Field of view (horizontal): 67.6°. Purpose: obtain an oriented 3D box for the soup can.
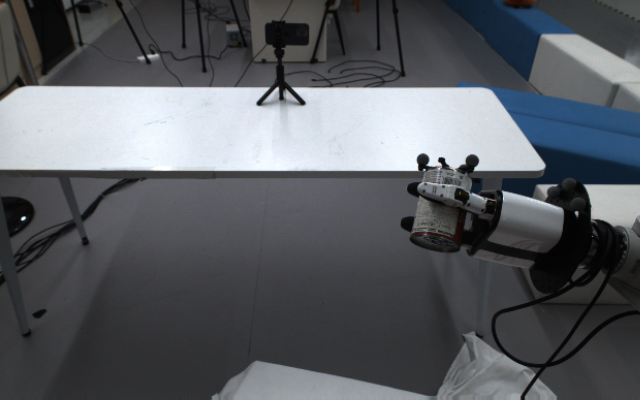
[{"bbox_3d":[0.167,0.012,0.662,0.067,0.067,0.101,11,72,13],"label":"soup can"}]
